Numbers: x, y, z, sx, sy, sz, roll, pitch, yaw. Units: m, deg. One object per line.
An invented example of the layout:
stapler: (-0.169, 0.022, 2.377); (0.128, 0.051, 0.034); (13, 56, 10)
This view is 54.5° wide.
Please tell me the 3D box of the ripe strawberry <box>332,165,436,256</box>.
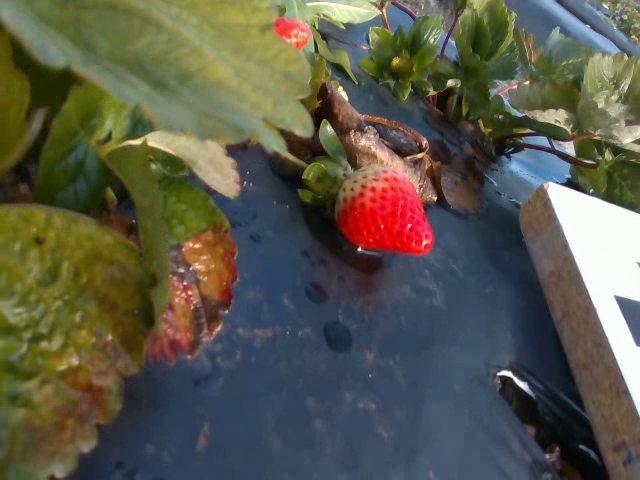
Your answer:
ripe strawberry: (0.024, -0.009, 0.213); (0.035, 0.043, 0.029); (-20, -29, -43)
